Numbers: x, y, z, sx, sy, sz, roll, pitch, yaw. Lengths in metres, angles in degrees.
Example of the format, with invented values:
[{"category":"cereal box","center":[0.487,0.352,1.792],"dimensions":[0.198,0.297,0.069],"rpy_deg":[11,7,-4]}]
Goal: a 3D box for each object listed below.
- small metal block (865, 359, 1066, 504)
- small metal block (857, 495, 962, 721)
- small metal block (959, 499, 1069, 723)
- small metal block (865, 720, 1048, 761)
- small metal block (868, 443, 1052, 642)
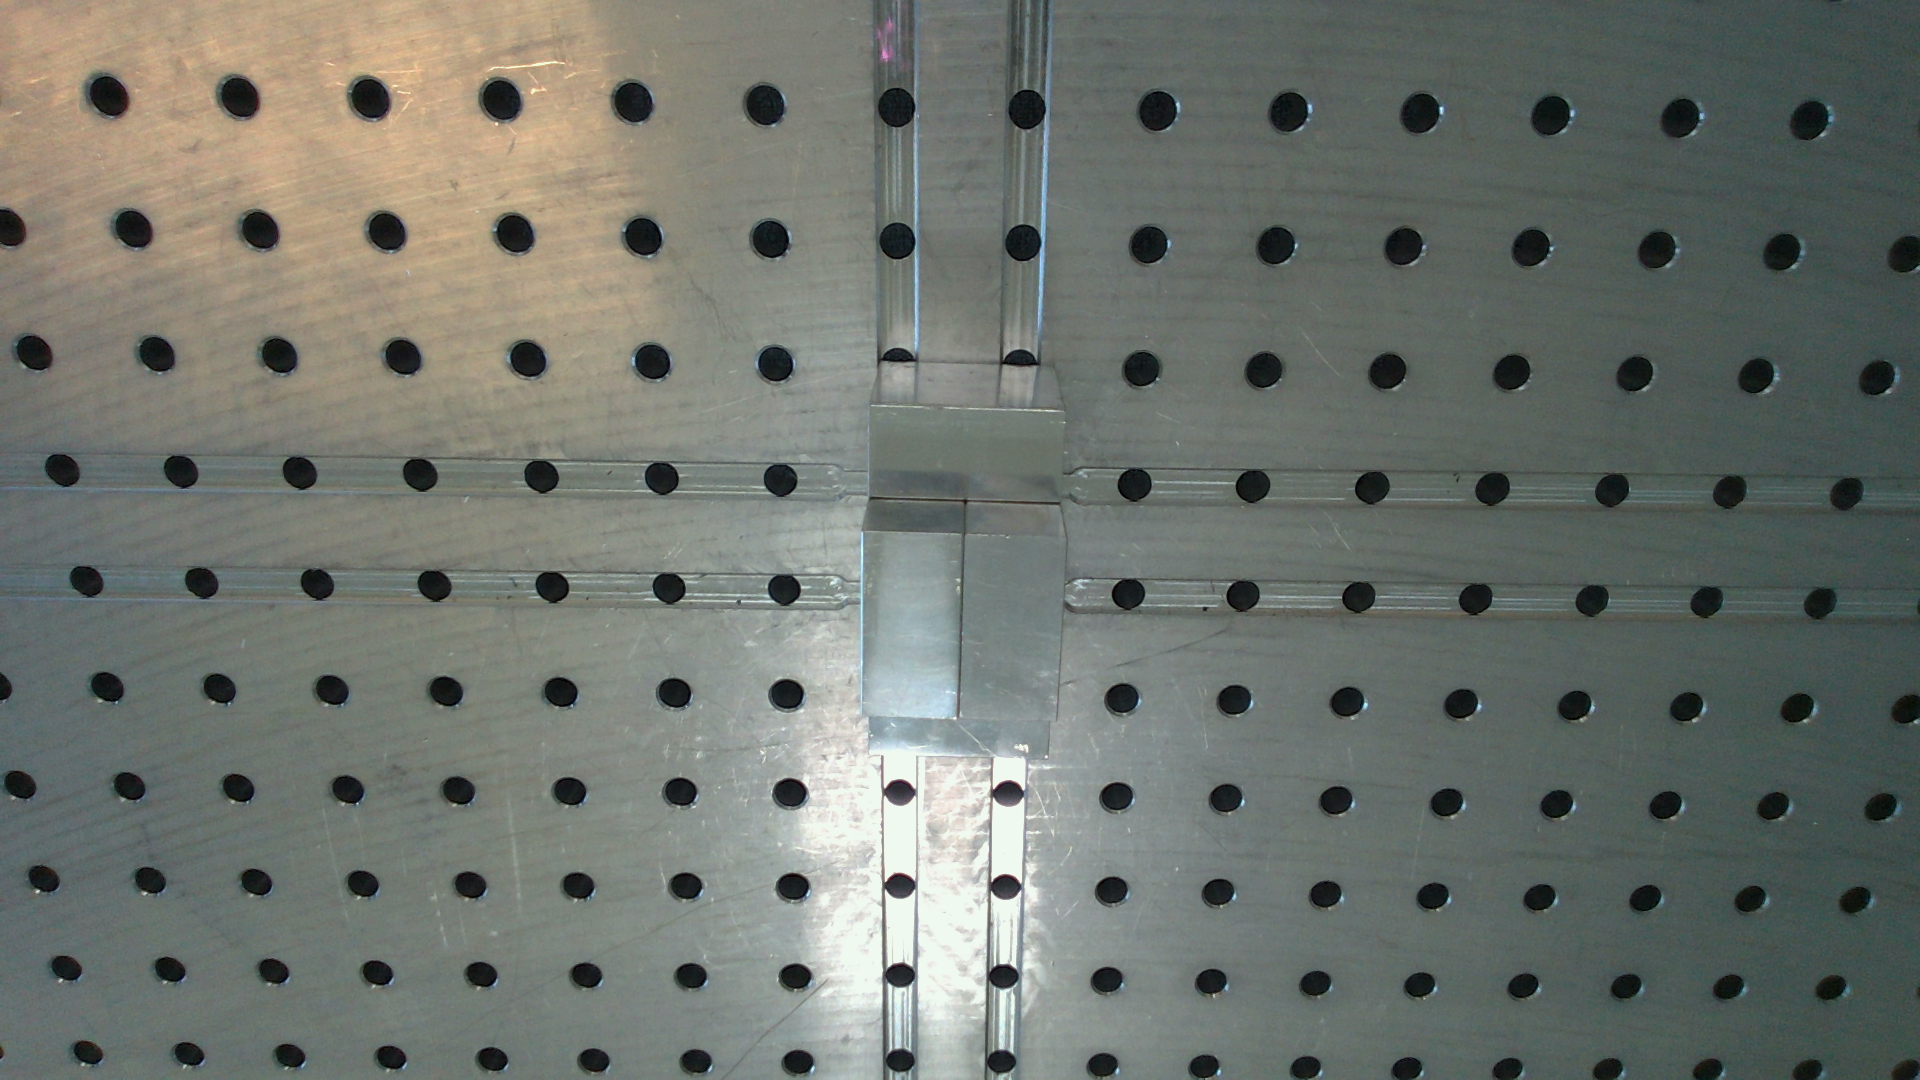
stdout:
[{"category":"small metal block","center":[0.001,-0.030,0.371],"dimensions":[0.050,0.050,0.025],"rpy_deg":[2,110,-1]},{"category":"small metal block","center":[-0.013,0.013,0.361],"dimensions":[0.025,0.050,0.050],"rpy_deg":[1,110,-1]},{"category":"small metal block","center":[0.014,0.014,0.361],"dimensions":[0.025,0.050,0.050],"rpy_deg":[2,110,1]},{"category":"small metal block","center":[-0.001,0.040,0.397],"dimensions":[0.050,0.050,0.025],"rpy_deg":[1,110,0]},{"category":"small metal block","center":[0.000,0.001,0.396],"dimensions":[0.050,0.025,0.050],"rpy_deg":[2,110,1]}]
